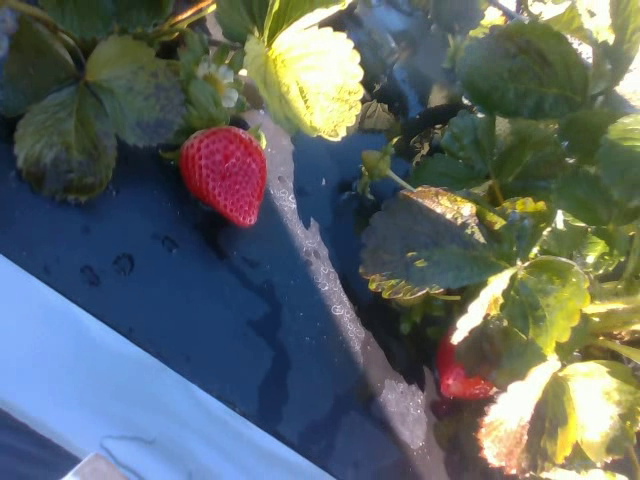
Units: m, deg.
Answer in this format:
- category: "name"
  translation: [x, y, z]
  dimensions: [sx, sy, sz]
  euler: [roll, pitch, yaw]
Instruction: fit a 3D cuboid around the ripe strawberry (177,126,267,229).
- category: "ripe strawberry"
  translation: [-0.041, -0.028, 0.288]
  dimensions: [0.045, 0.059, 0.042]
  euler: [-18, -18, 1]
